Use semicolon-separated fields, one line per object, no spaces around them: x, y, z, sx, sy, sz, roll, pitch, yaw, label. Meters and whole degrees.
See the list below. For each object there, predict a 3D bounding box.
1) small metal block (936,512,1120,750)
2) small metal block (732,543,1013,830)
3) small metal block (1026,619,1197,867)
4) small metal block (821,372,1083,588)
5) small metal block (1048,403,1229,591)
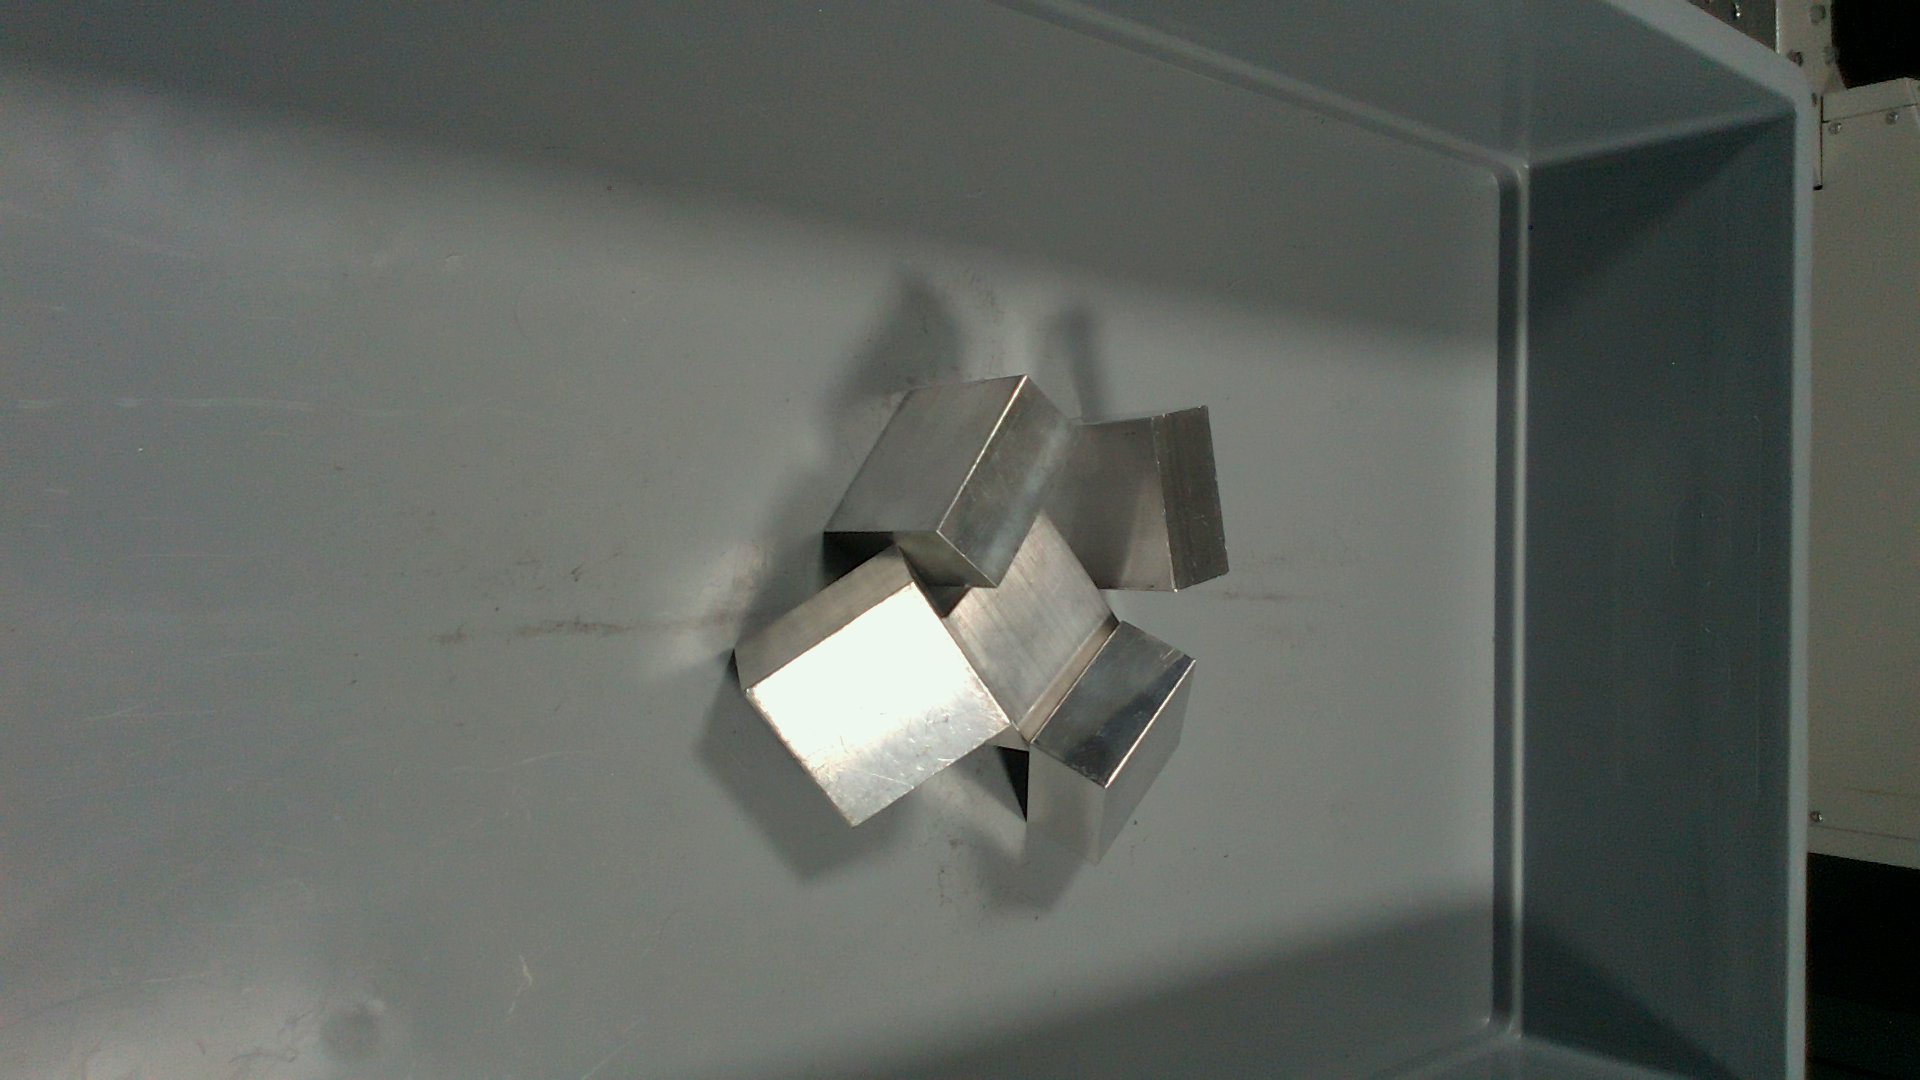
0.013;0.024;0.397;0.050;0.025;0.050;-50;119;-28;small metal block
-0.023;0.037;0.354;0.050;0.025;0.050;-33;115;1;small metal block
0.044;0.060;0.407;0.050;0.025;0.050;-49;155;-29;small metal block
-0.003;-0.015;0.368;0.025;0.050;0.050;44;64;-31;small metal block
0.050;-0.013;0.412;0.025;0.050;0.050;-15;99;-40;small metal block
